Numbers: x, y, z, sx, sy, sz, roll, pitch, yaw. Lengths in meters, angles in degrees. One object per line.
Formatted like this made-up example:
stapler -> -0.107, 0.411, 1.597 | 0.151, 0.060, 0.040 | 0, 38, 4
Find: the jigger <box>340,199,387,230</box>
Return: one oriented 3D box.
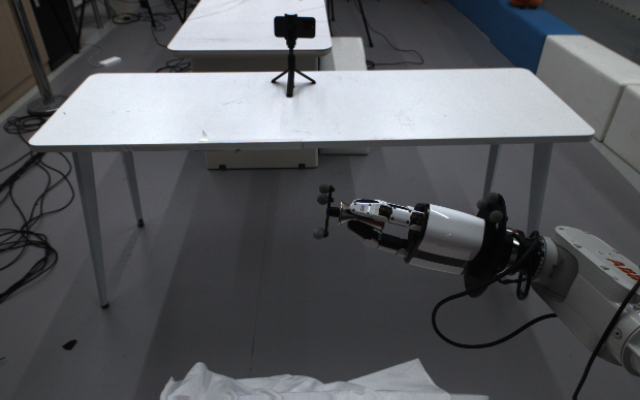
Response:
jigger -> 0.070, 0.020, 0.734 | 0.071, 0.043, 0.043 | 7, 35, 1
